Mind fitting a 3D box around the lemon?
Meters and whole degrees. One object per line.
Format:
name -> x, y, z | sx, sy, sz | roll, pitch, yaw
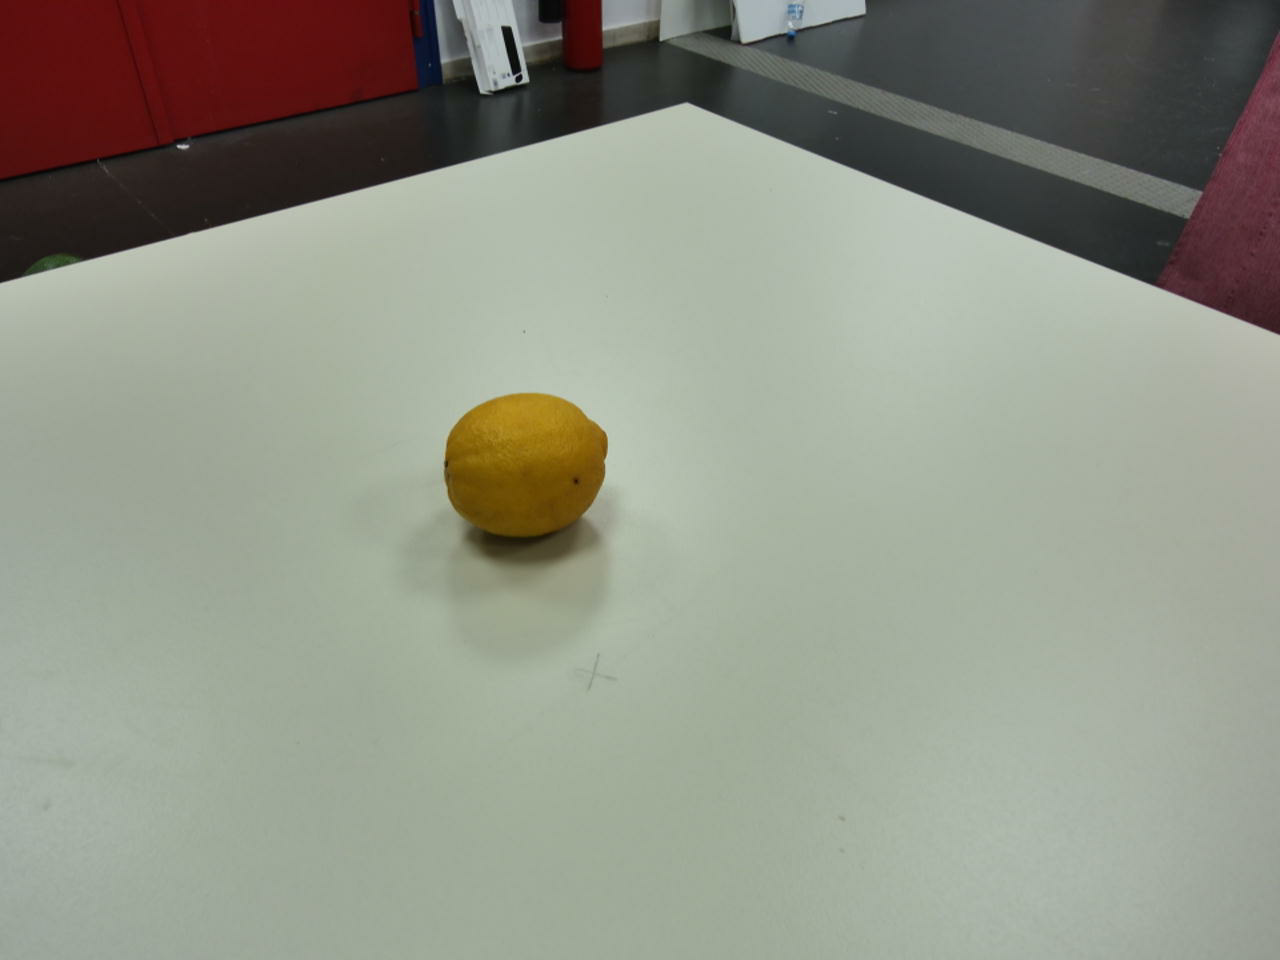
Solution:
lemon -> -0.048, -0.005, 0.415 | 0.067, 0.059, 0.060 | 2, 37, 2
